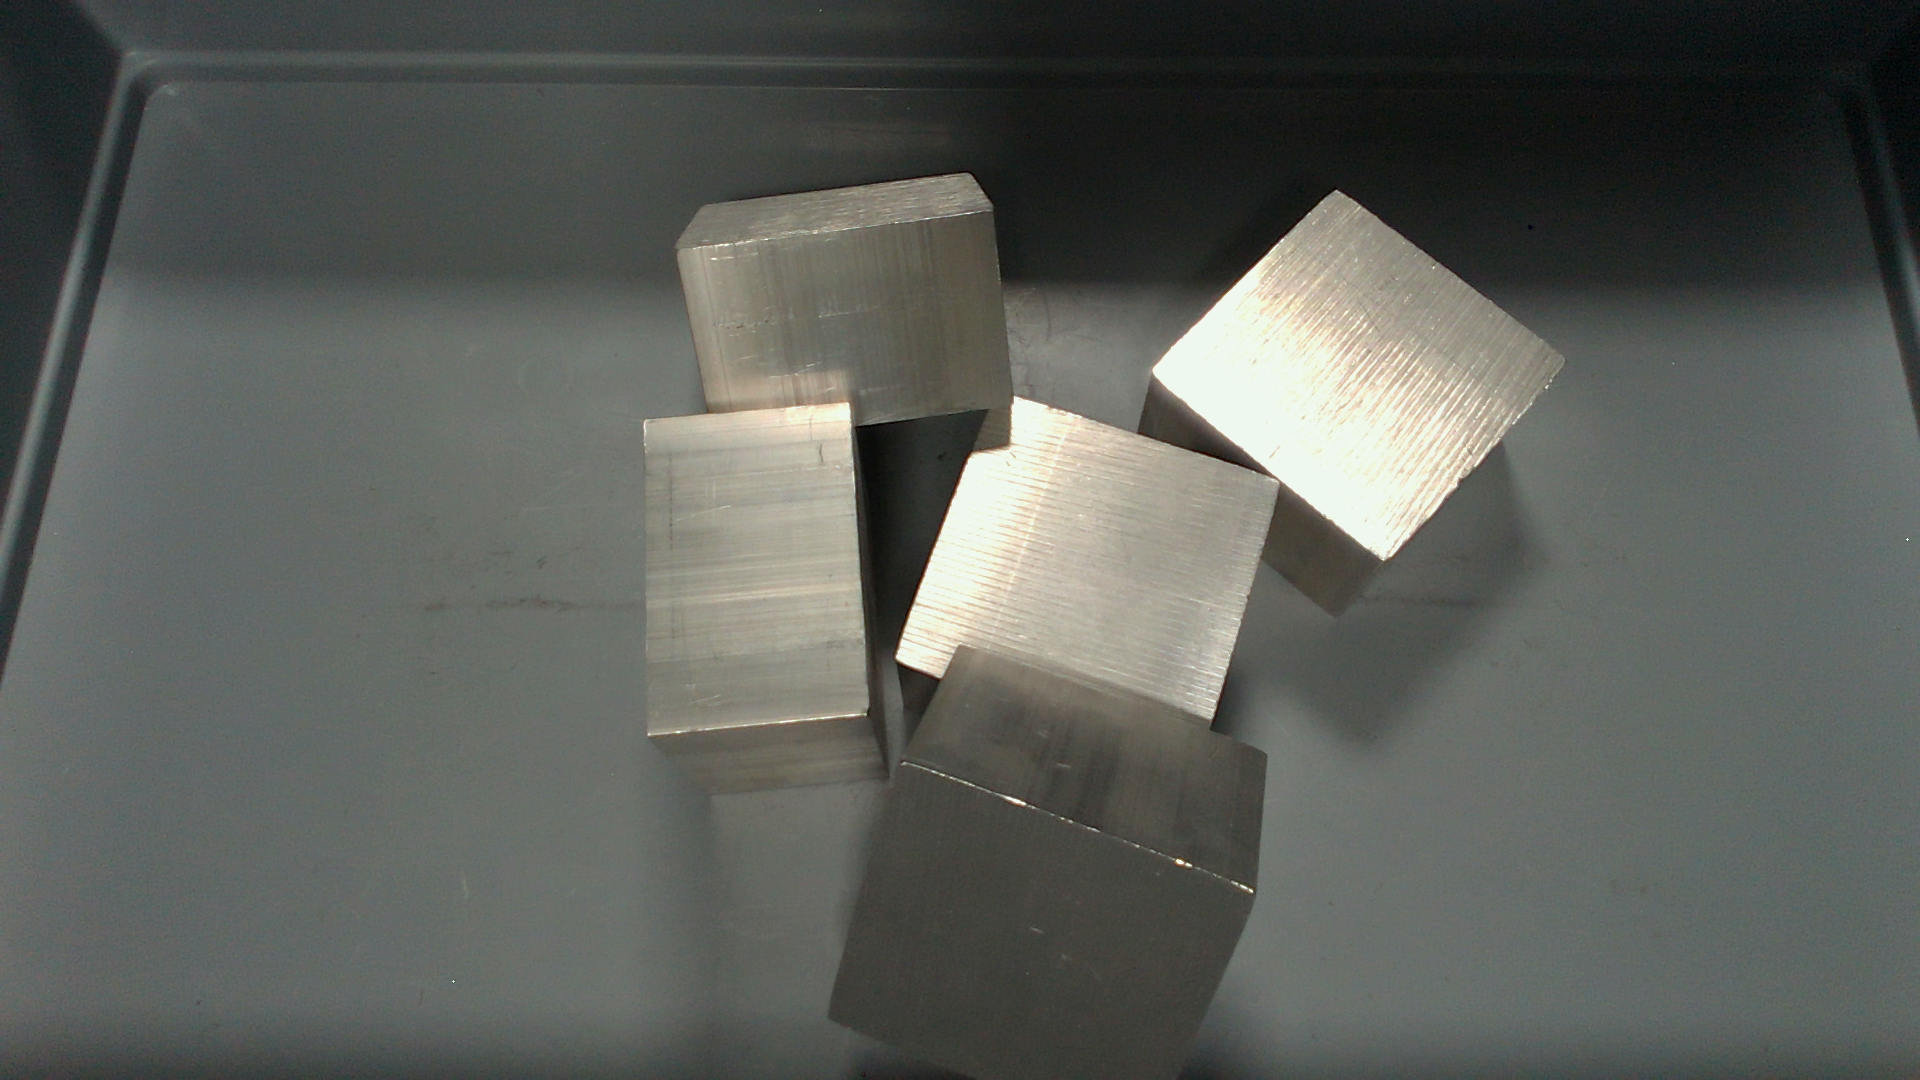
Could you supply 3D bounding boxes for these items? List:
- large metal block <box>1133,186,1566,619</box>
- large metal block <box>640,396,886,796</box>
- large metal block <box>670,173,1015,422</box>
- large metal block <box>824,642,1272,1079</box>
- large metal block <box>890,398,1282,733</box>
[{"bbox_3d":[0.107,-0.039,0.394,0.080,0.050,0.080,42,75,14],"label":"large metal block"},{"bbox_3d":[-0.049,0.018,0.358,0.050,0.080,0.080,-5,70,-2],"label":"large metal block"},{"bbox_3d":[-0.031,-0.068,0.383,0.080,0.080,0.050,-7,112,-2],"label":"large metal block"},{"bbox_3d":[0.021,0.082,0.328,0.080,0.080,0.050,19,29,5],"label":"large metal block"},{"bbox_3d":[0.034,0.016,0.375,0.080,0.050,0.080,18,71,6],"label":"large metal block"}]
